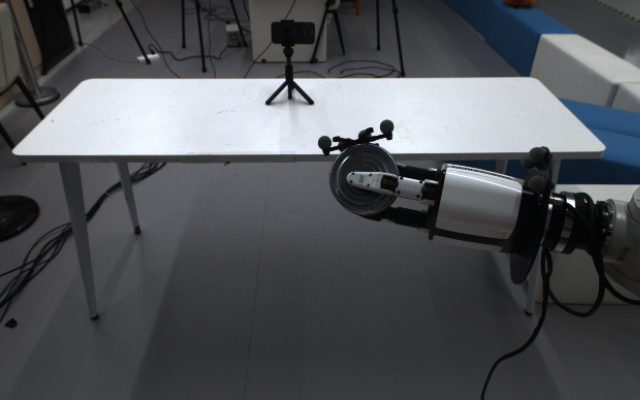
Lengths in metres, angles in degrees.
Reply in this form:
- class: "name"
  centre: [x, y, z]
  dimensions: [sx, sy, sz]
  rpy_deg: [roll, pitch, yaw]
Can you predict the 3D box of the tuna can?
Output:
- class: "tuna can"
  centre: [0.057, -0.027, 0.592]
  dimensions: [0.085, 0.085, 0.034]
  rpy_deg: [12, -6, 14]
